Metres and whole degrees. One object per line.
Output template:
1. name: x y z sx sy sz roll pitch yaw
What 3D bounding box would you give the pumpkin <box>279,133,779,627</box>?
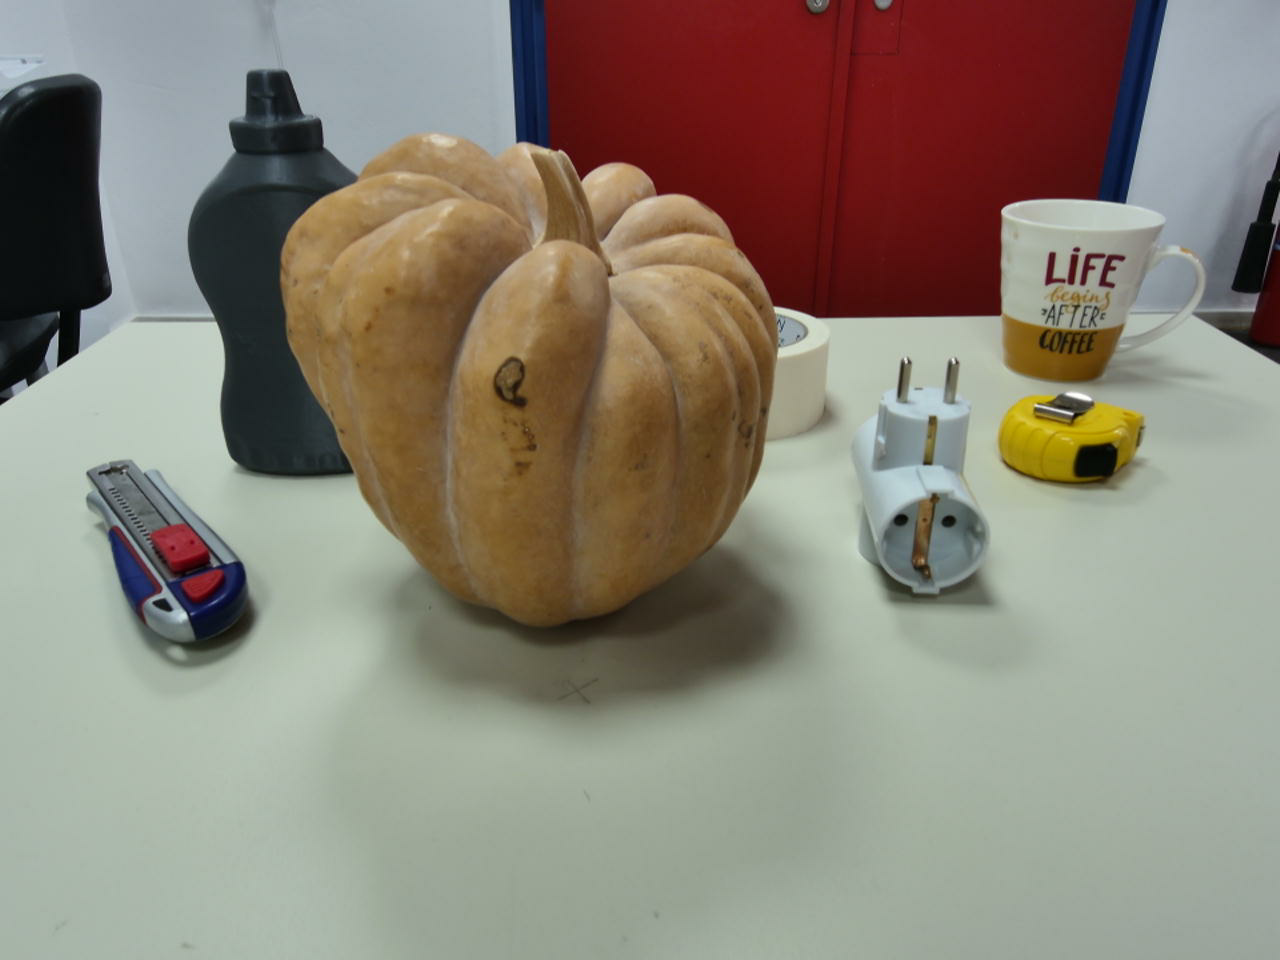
1. pumpkin: -0.039 -0.042 0.397 0.199 0.177 0.198 0 25 0
